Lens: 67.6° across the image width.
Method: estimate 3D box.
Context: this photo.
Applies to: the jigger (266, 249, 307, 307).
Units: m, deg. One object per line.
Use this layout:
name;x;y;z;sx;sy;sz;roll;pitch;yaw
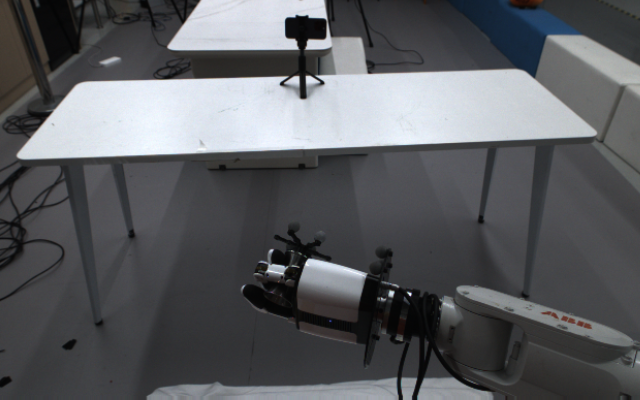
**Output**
jigger;-0.043;0.107;0.670;0.043;0.043;0.071;15;58;18
